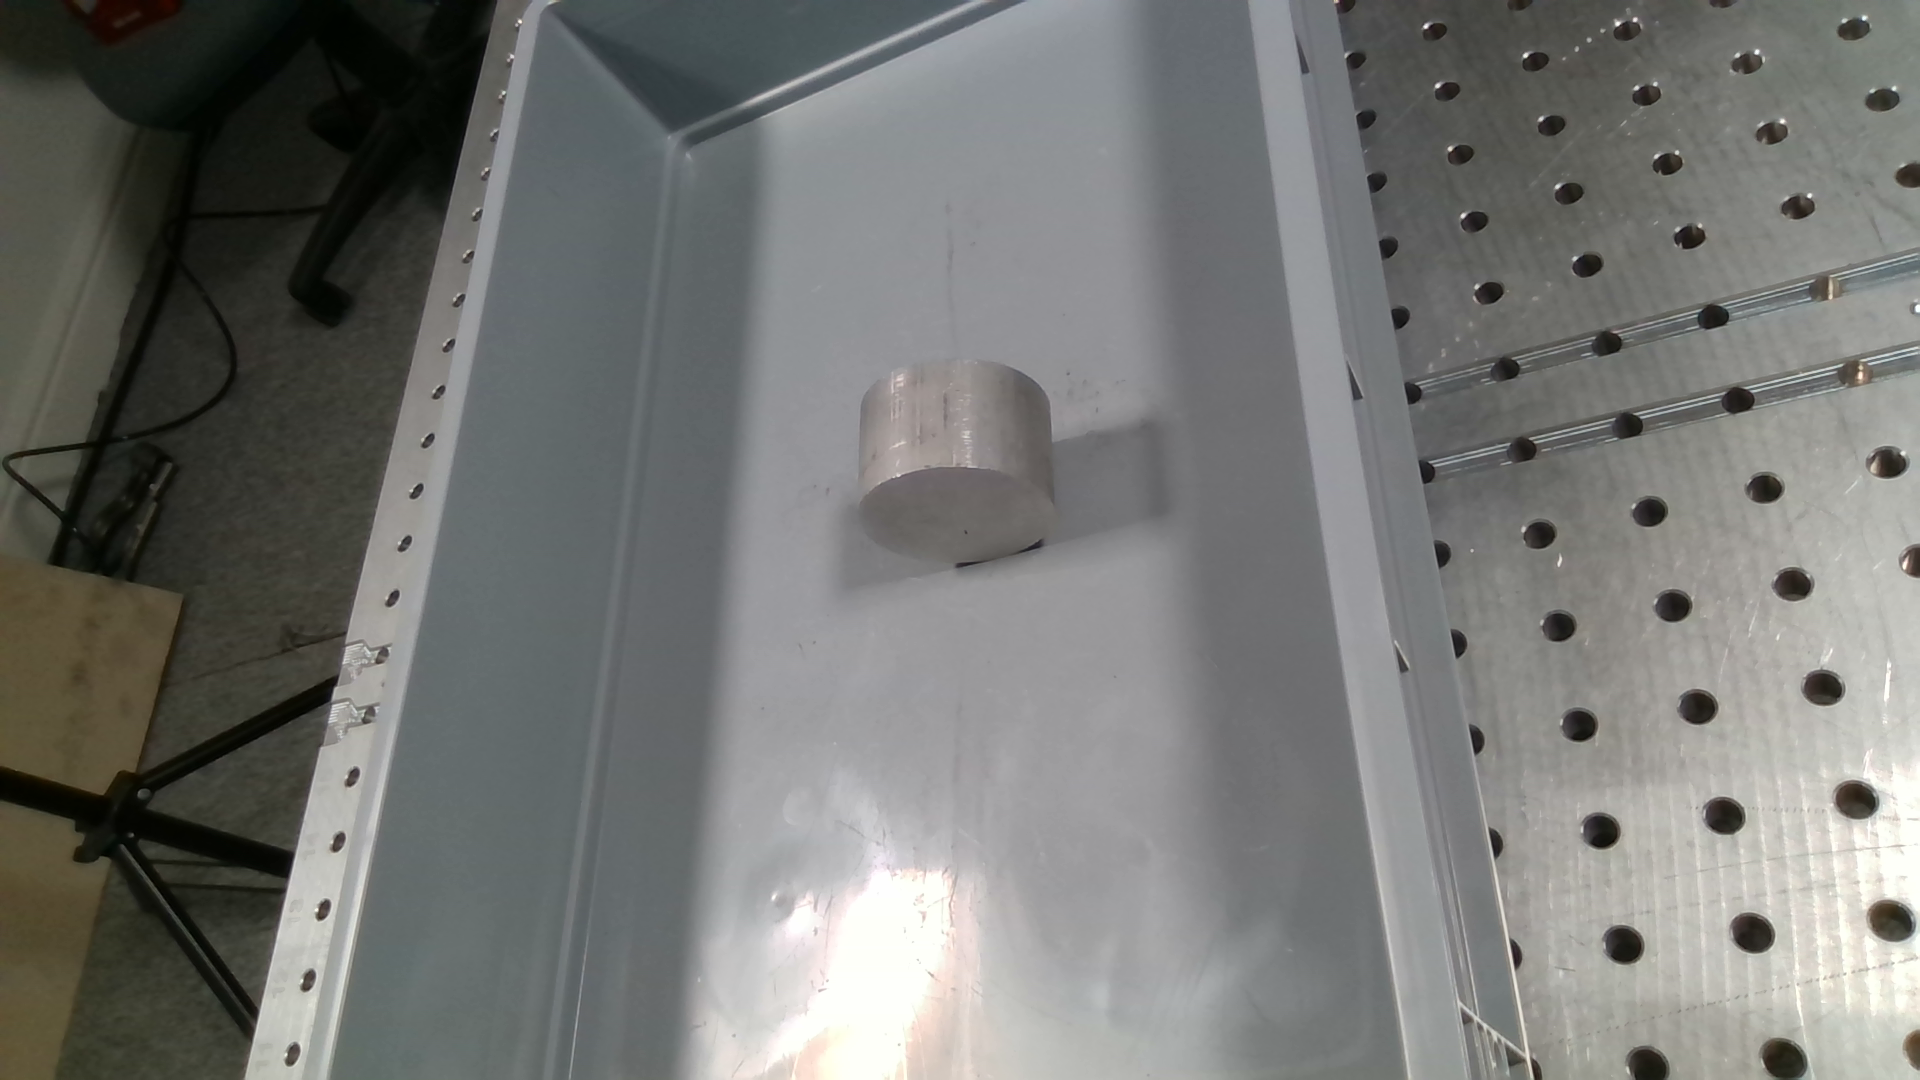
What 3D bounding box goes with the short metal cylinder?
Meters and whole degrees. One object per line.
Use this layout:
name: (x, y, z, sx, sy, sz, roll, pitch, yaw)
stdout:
short metal cylinder: (-0.002, -0.031, 0.565, 0.080, 0.080, 0.050, -14, 59, 25)
